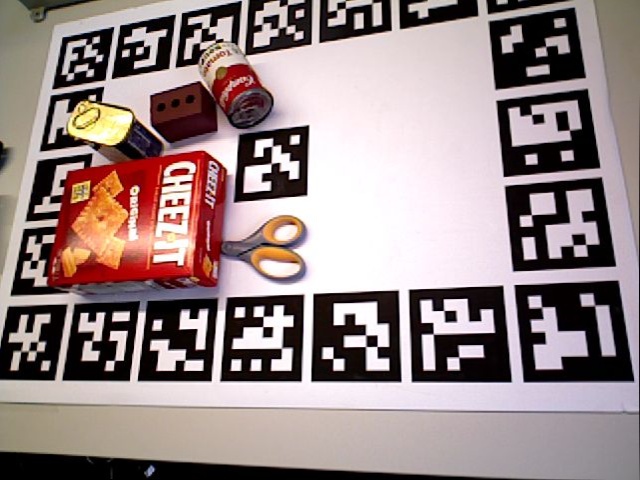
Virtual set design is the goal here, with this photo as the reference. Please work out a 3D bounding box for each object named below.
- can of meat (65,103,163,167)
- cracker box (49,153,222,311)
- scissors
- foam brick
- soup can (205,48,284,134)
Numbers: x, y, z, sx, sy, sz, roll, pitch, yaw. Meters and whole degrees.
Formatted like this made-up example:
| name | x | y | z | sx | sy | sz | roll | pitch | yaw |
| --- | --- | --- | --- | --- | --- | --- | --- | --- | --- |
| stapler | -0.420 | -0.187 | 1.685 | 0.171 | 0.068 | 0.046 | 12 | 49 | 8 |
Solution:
| name | x | y | z | sx | sy | sz | roll | pitch | yaw |
| --- | --- | --- | --- | --- | --- | --- | --- | --- | --- |
| can of meat | -0.279 | -0.138 | 0.744 | 0.102 | 0.084 | 0.057 | 10 | 77 | 19 |
| cracker box | -0.233 | -0.009 | 0.685 | 0.215 | 0.072 | 0.163 | -10 | 71 | 18 |
| scissors | -0.114 | 0.026 | 0.673 | 0.204 | 0.016 | 0.087 | -9 | 73 | 15 |
| foam brick | -0.182 | -0.169 | 0.744 | 0.078 | 0.051 | 0.052 | -14 | 71 | 12 |
| soup can | -0.103 | -0.201 | 0.728 | 0.068 | 0.068 | 0.101 | -39 | 62 | 2 |
